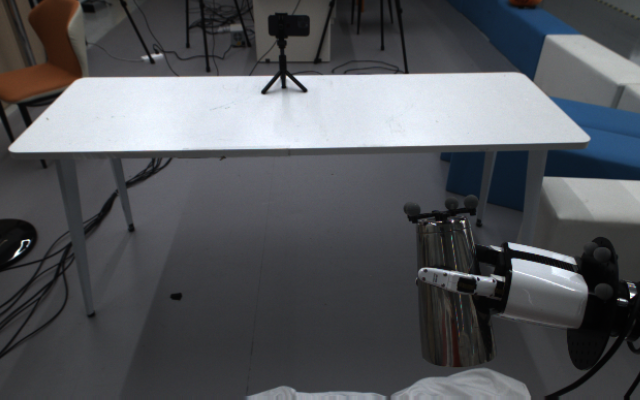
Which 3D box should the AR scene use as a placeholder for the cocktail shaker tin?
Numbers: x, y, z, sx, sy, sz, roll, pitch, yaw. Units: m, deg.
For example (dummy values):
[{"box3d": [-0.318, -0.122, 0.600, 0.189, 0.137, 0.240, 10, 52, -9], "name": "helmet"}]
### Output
[{"box3d": [0.165, 0.109, 0.609, 0.093, 0.170, 0.093, -8, 1, 0], "name": "cocktail shaker tin"}]
